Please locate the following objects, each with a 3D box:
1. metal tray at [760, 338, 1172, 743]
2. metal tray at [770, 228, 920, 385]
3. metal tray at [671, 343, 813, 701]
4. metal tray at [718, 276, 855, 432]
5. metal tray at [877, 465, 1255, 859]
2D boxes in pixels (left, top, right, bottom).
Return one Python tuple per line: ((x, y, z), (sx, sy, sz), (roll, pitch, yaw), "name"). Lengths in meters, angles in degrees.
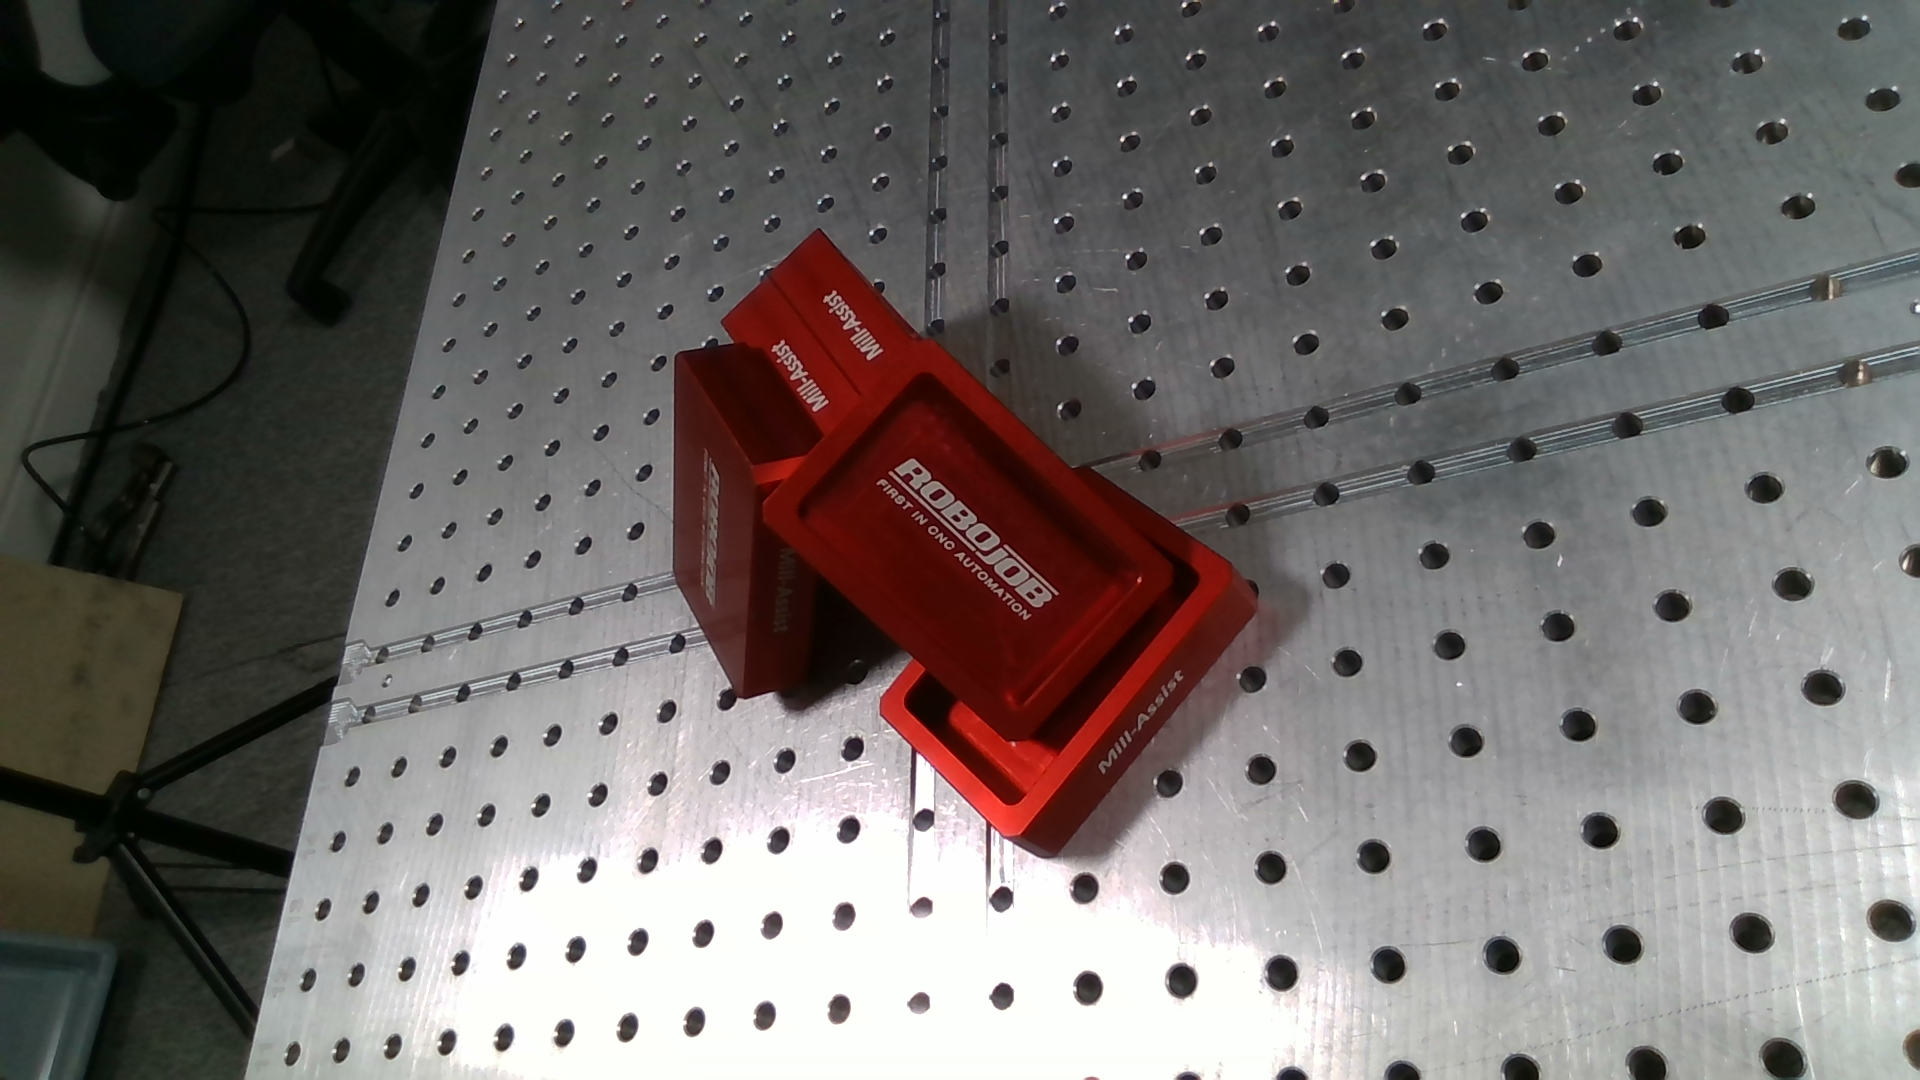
((0.002, 0.000, 0.514), (0.130, 0.030, 0.090), (43, 92, -6), "metal tray")
((-0.023, -0.071, 0.598), (0.030, 0.090, 0.130), (-42, 51, 6), "metal tray")
((-0.094, -0.006, 0.590), (0.030, 0.130, 0.090), (-14, 46, -26), "metal tray")
((-0.046, -0.050, 0.599), (0.030, 0.090, 0.130), (-42, 51, 6), "metal tray")
((0.039, 0.045, 0.536), (0.130, 0.030, 0.090), (-51, 51, -1), "metal tray")
